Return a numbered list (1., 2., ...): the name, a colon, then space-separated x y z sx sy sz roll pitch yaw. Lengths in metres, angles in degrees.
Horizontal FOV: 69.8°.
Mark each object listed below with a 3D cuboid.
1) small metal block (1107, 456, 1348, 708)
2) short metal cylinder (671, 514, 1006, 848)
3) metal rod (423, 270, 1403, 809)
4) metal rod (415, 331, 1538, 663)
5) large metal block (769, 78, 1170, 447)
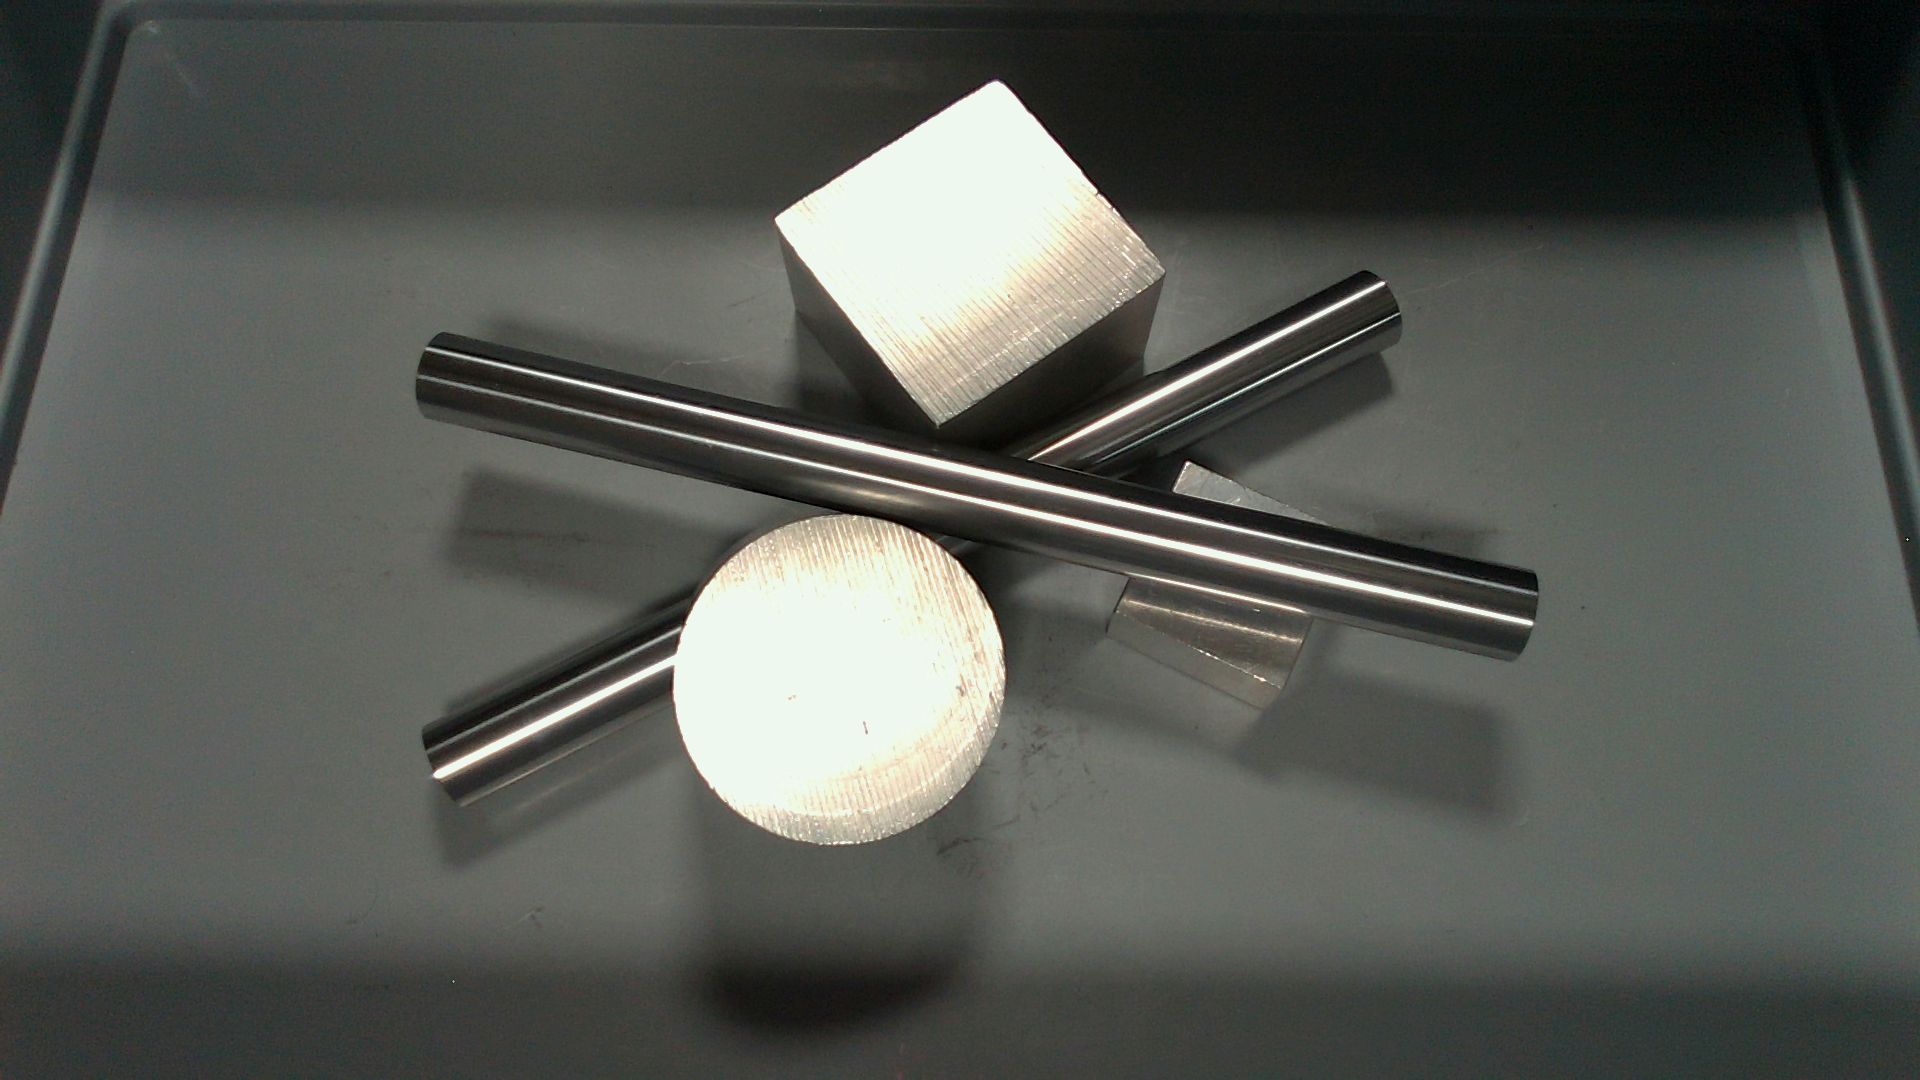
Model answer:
1. small metal block: 0.075 0.012 0.387 0.050 0.025 0.050 25 72 9
2. short metal cylinder: -0.033 0.033 0.353 0.080 0.050 0.080 0 92 -11
3. metal rod: -0.006 -0.005 0.395 0.300 0.025 0.025 -26 72 -9
4. metal rod: 0.000 -0.013 0.371 0.300 0.025 0.025 13 70 5
5. large metal block: 0.002 -0.074 0.407 0.080 0.050 0.080 -34 74 -12
